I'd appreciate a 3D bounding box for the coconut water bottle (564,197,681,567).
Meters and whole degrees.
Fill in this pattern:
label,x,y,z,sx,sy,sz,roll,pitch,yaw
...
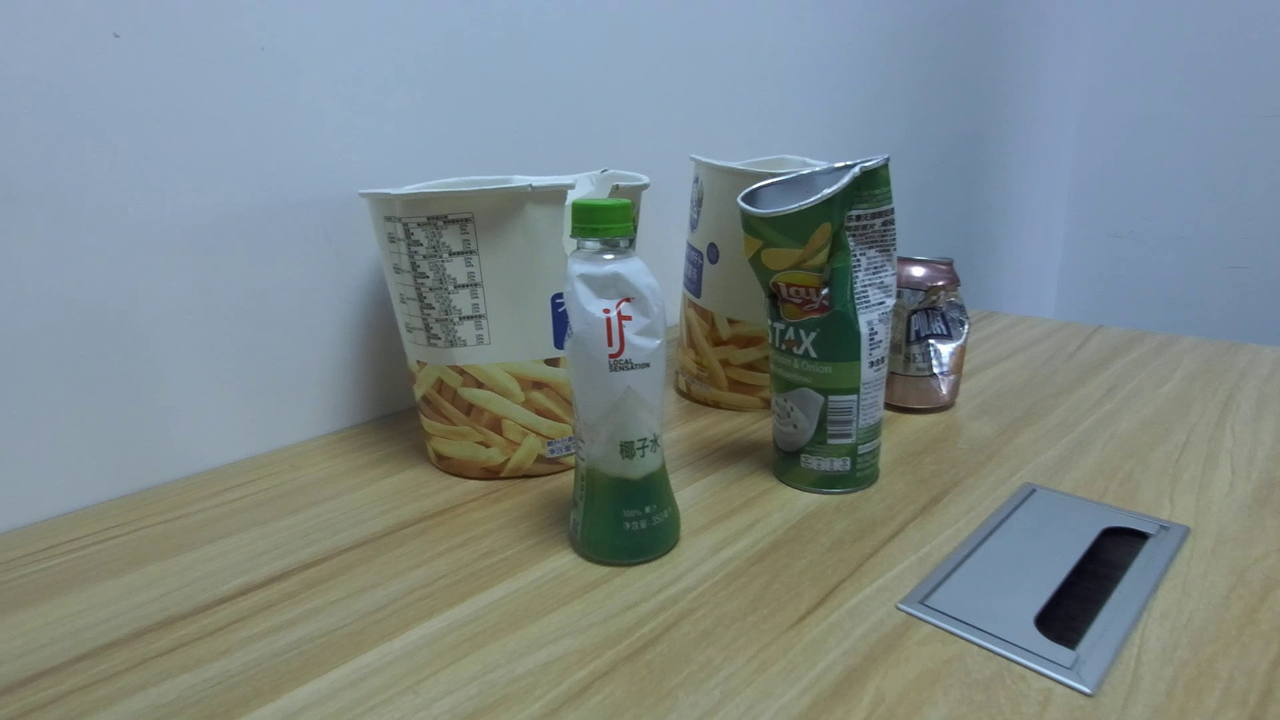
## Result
label,x,y,z,sx,sy,sz,roll,pitch,yaw
coconut water bottle,-0.013,0.012,0.378,0.067,0.187,0.067,-3,15,1

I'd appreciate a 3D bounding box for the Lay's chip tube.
label,x,y,z,sx,sy,sz,roll,pitch,yaw
Lay's chip tube,0.109,-0.016,0.428,0.078,0.199,0.071,7,28,35

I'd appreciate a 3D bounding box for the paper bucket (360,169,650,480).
label,x,y,z,sx,sy,sz,roll,pitch,yaw
paper bucket,-0.093,-0.032,0.519,0.202,0.197,0.145,-4,19,3

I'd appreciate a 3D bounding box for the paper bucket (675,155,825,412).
label,x,y,z,sx,sy,sz,roll,pitch,yaw
paper bucket,0.099,-0.074,0.612,0.148,0.199,0.217,-11,18,-27
